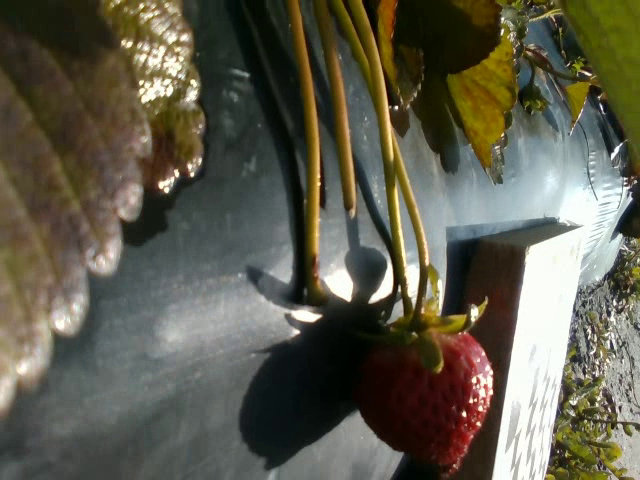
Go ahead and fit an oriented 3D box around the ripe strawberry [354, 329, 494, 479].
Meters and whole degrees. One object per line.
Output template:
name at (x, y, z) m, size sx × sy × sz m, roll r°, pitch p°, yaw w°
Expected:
ripe strawberry at (0.028, 0.042, 0.144) m, size 0.036 × 0.044 × 0.040 m, roll -4°, pitch 19°, yaw 34°
